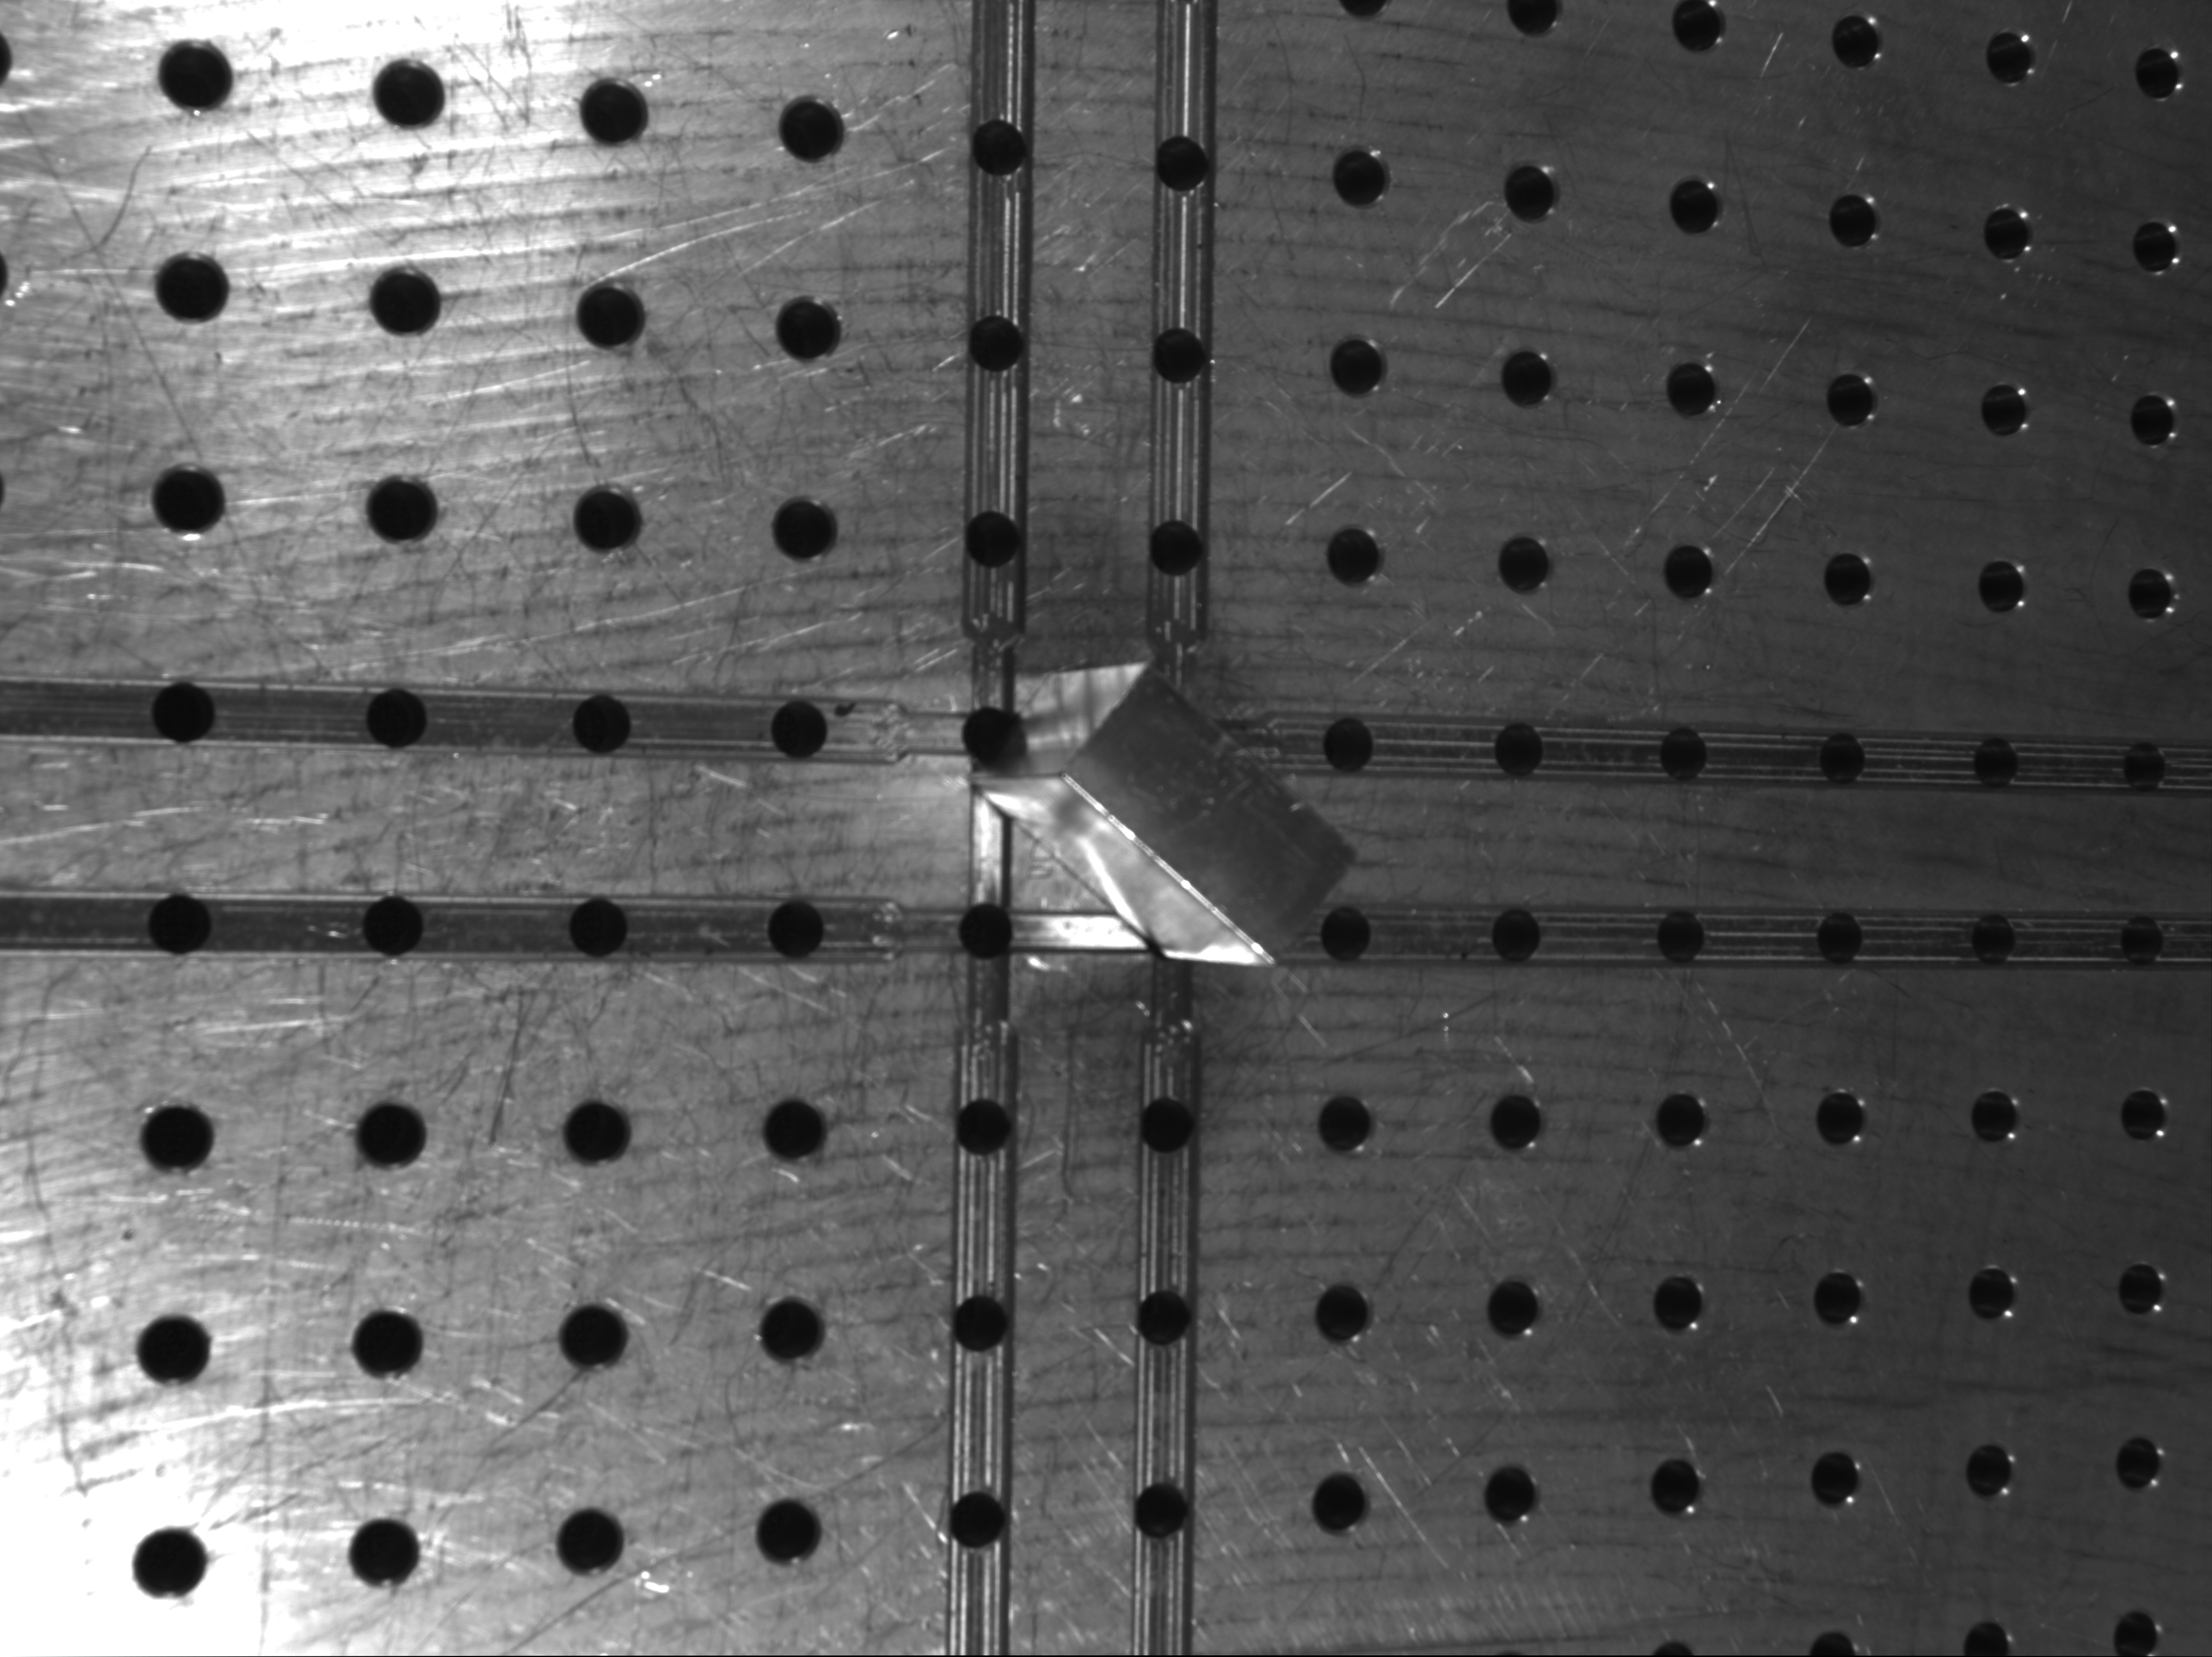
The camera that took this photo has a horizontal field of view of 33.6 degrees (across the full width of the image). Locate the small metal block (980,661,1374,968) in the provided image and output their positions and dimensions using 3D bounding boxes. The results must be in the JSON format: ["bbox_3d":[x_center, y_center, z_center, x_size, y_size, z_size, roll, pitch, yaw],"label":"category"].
[{"bbox_3d":[0.012,-0.002,0.637,0.050,0.050,0.025,42,77,-15],"label":"small metal block"}]
